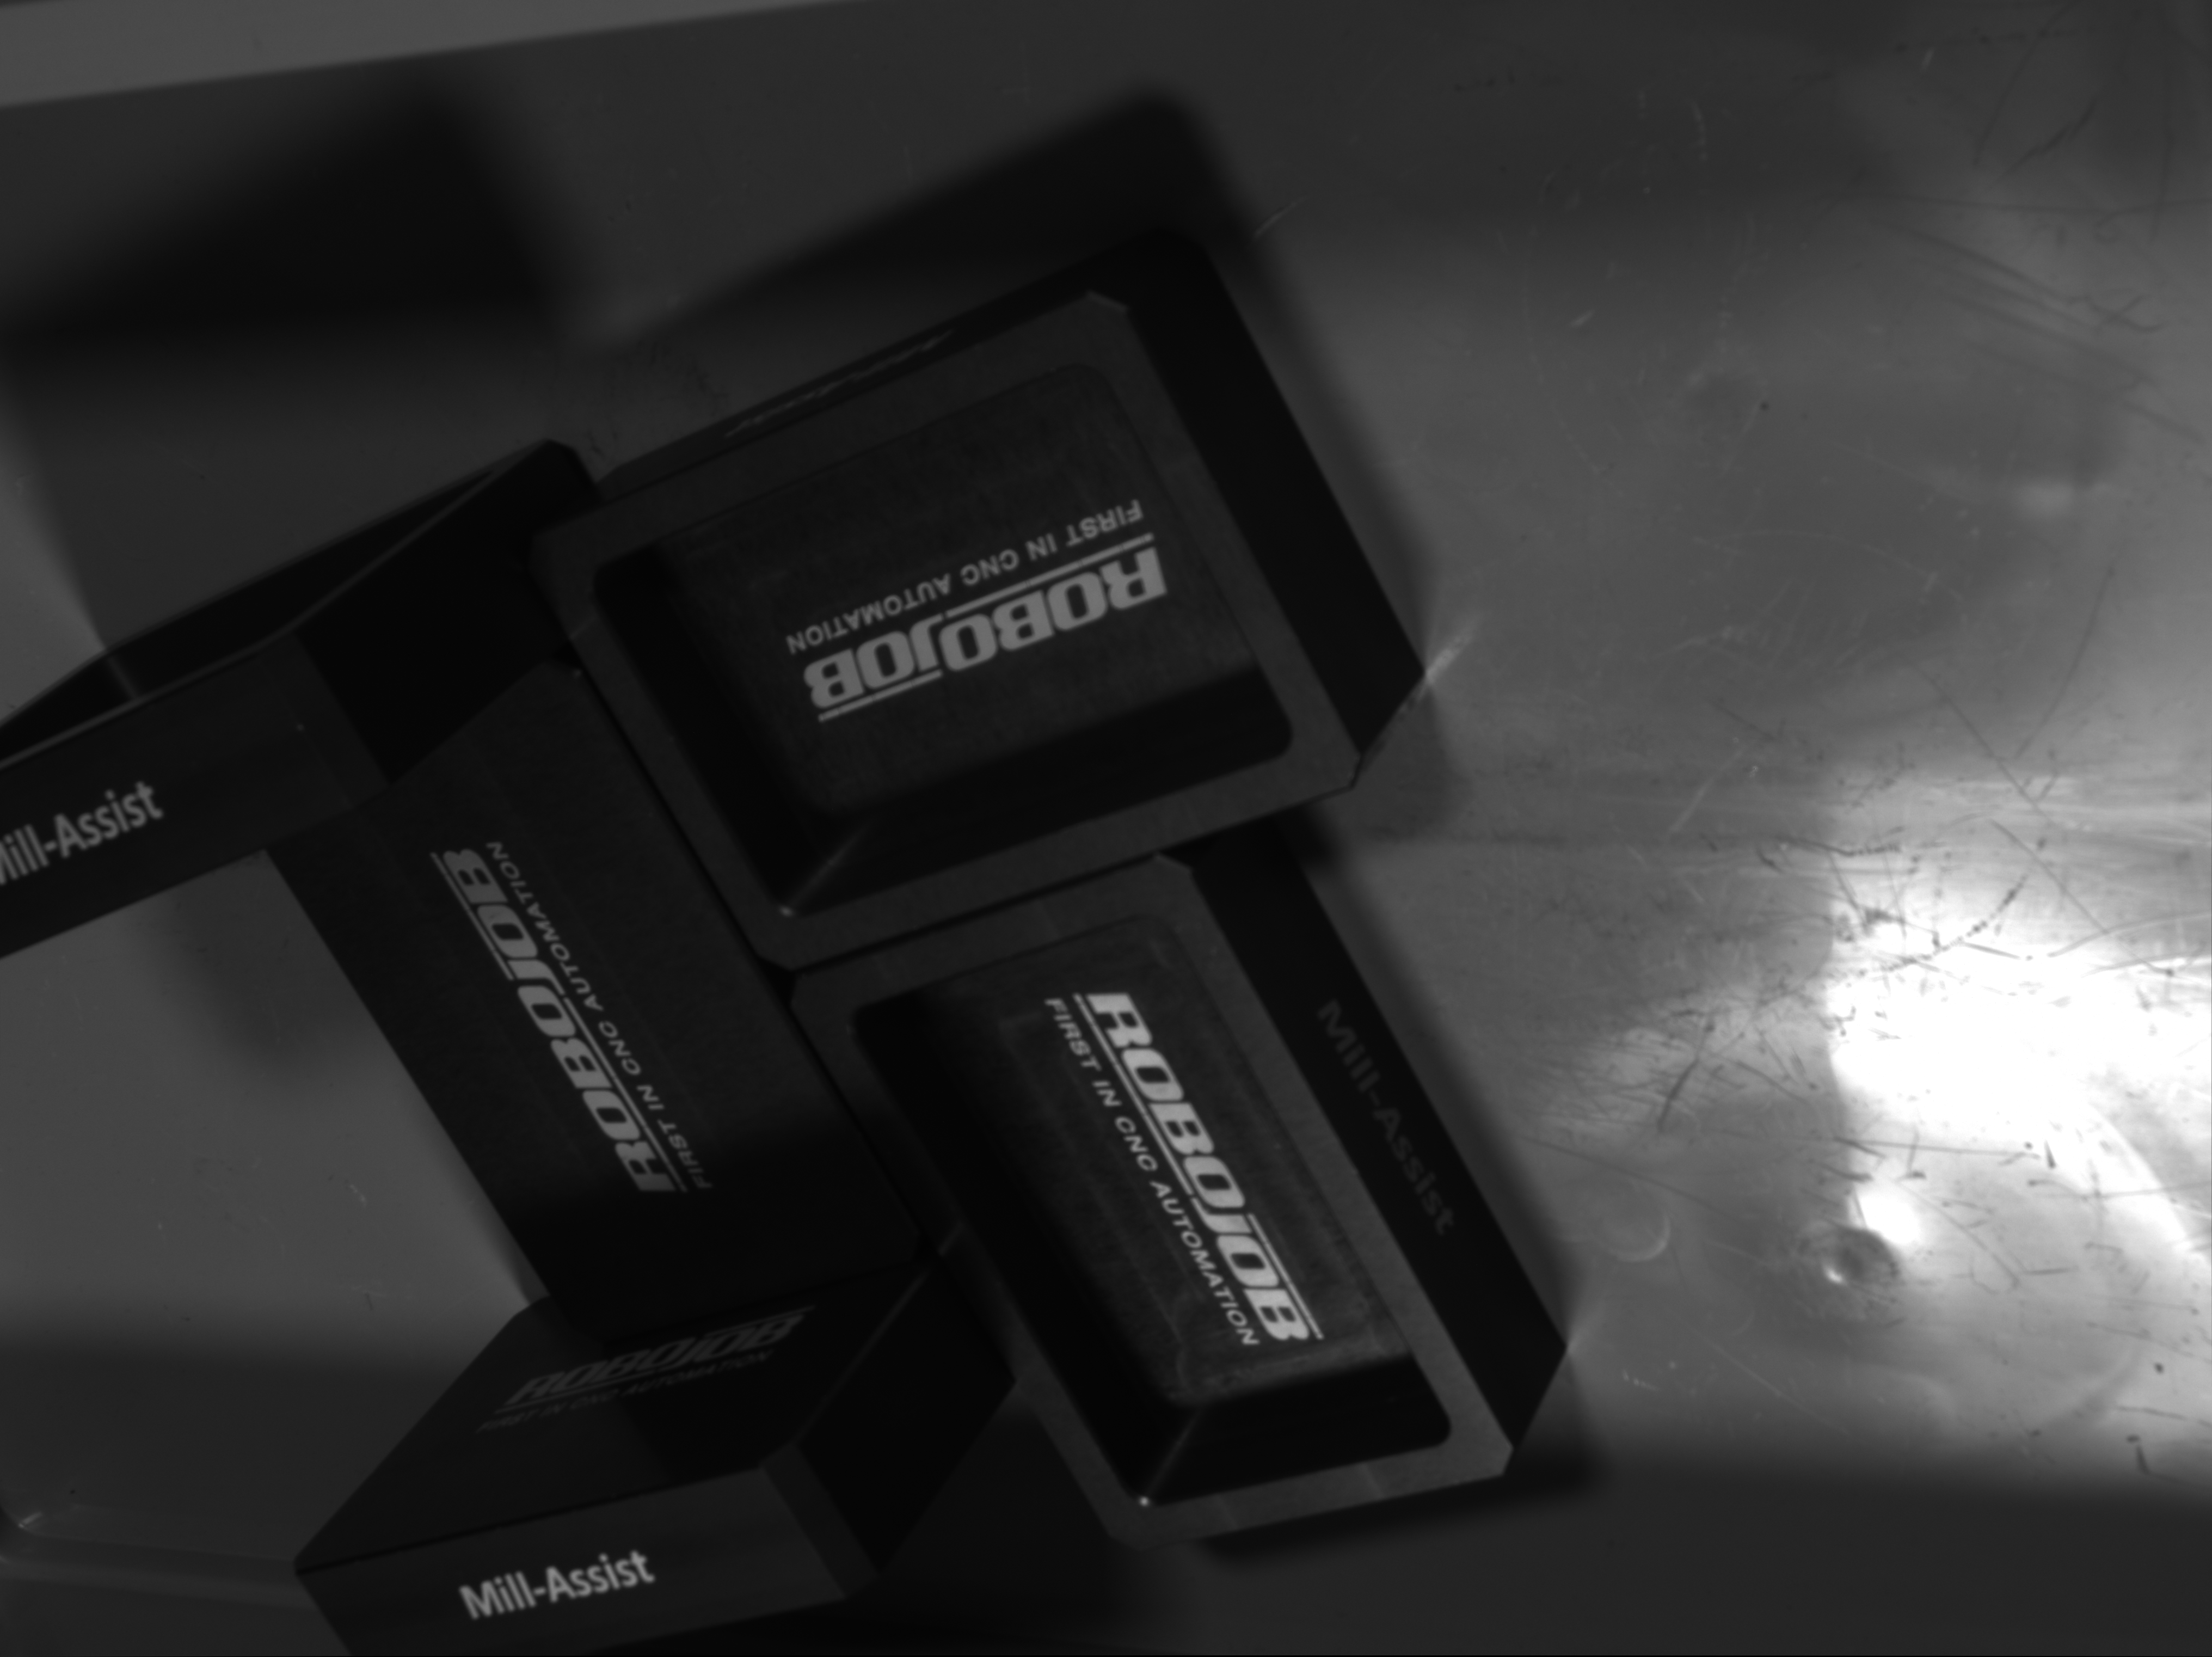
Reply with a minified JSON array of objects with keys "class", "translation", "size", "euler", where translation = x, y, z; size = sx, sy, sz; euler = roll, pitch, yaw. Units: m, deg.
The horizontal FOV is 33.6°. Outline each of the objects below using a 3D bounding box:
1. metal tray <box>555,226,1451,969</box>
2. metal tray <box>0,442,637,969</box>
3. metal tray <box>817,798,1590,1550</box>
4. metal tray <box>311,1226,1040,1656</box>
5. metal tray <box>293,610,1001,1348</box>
[{"class":"metal tray","translation":[-0.019,-0.035,0.615],"size":[0.130,0.030,0.090],"euler":[-18,109,34]},{"class":"metal tray","translation":[-0.154,-0.019,0.652],"size":[0.130,0.090,0.030],"euler":[-19,108,34]},{"class":"metal tray","translation":[0.018,0.063,0.655],"size":[0.090,0.030,0.130],"euler":[-19,109,34]},{"class":"metal tray","translation":[-0.077,0.116,0.695],"size":[0.130,0.090,0.030],"euler":[-19,109,34]},{"class":"metal tray","translation":[-0.088,0.030,0.687],"size":[0.090,0.030,0.130],"euler":[-19,109,34]}]
